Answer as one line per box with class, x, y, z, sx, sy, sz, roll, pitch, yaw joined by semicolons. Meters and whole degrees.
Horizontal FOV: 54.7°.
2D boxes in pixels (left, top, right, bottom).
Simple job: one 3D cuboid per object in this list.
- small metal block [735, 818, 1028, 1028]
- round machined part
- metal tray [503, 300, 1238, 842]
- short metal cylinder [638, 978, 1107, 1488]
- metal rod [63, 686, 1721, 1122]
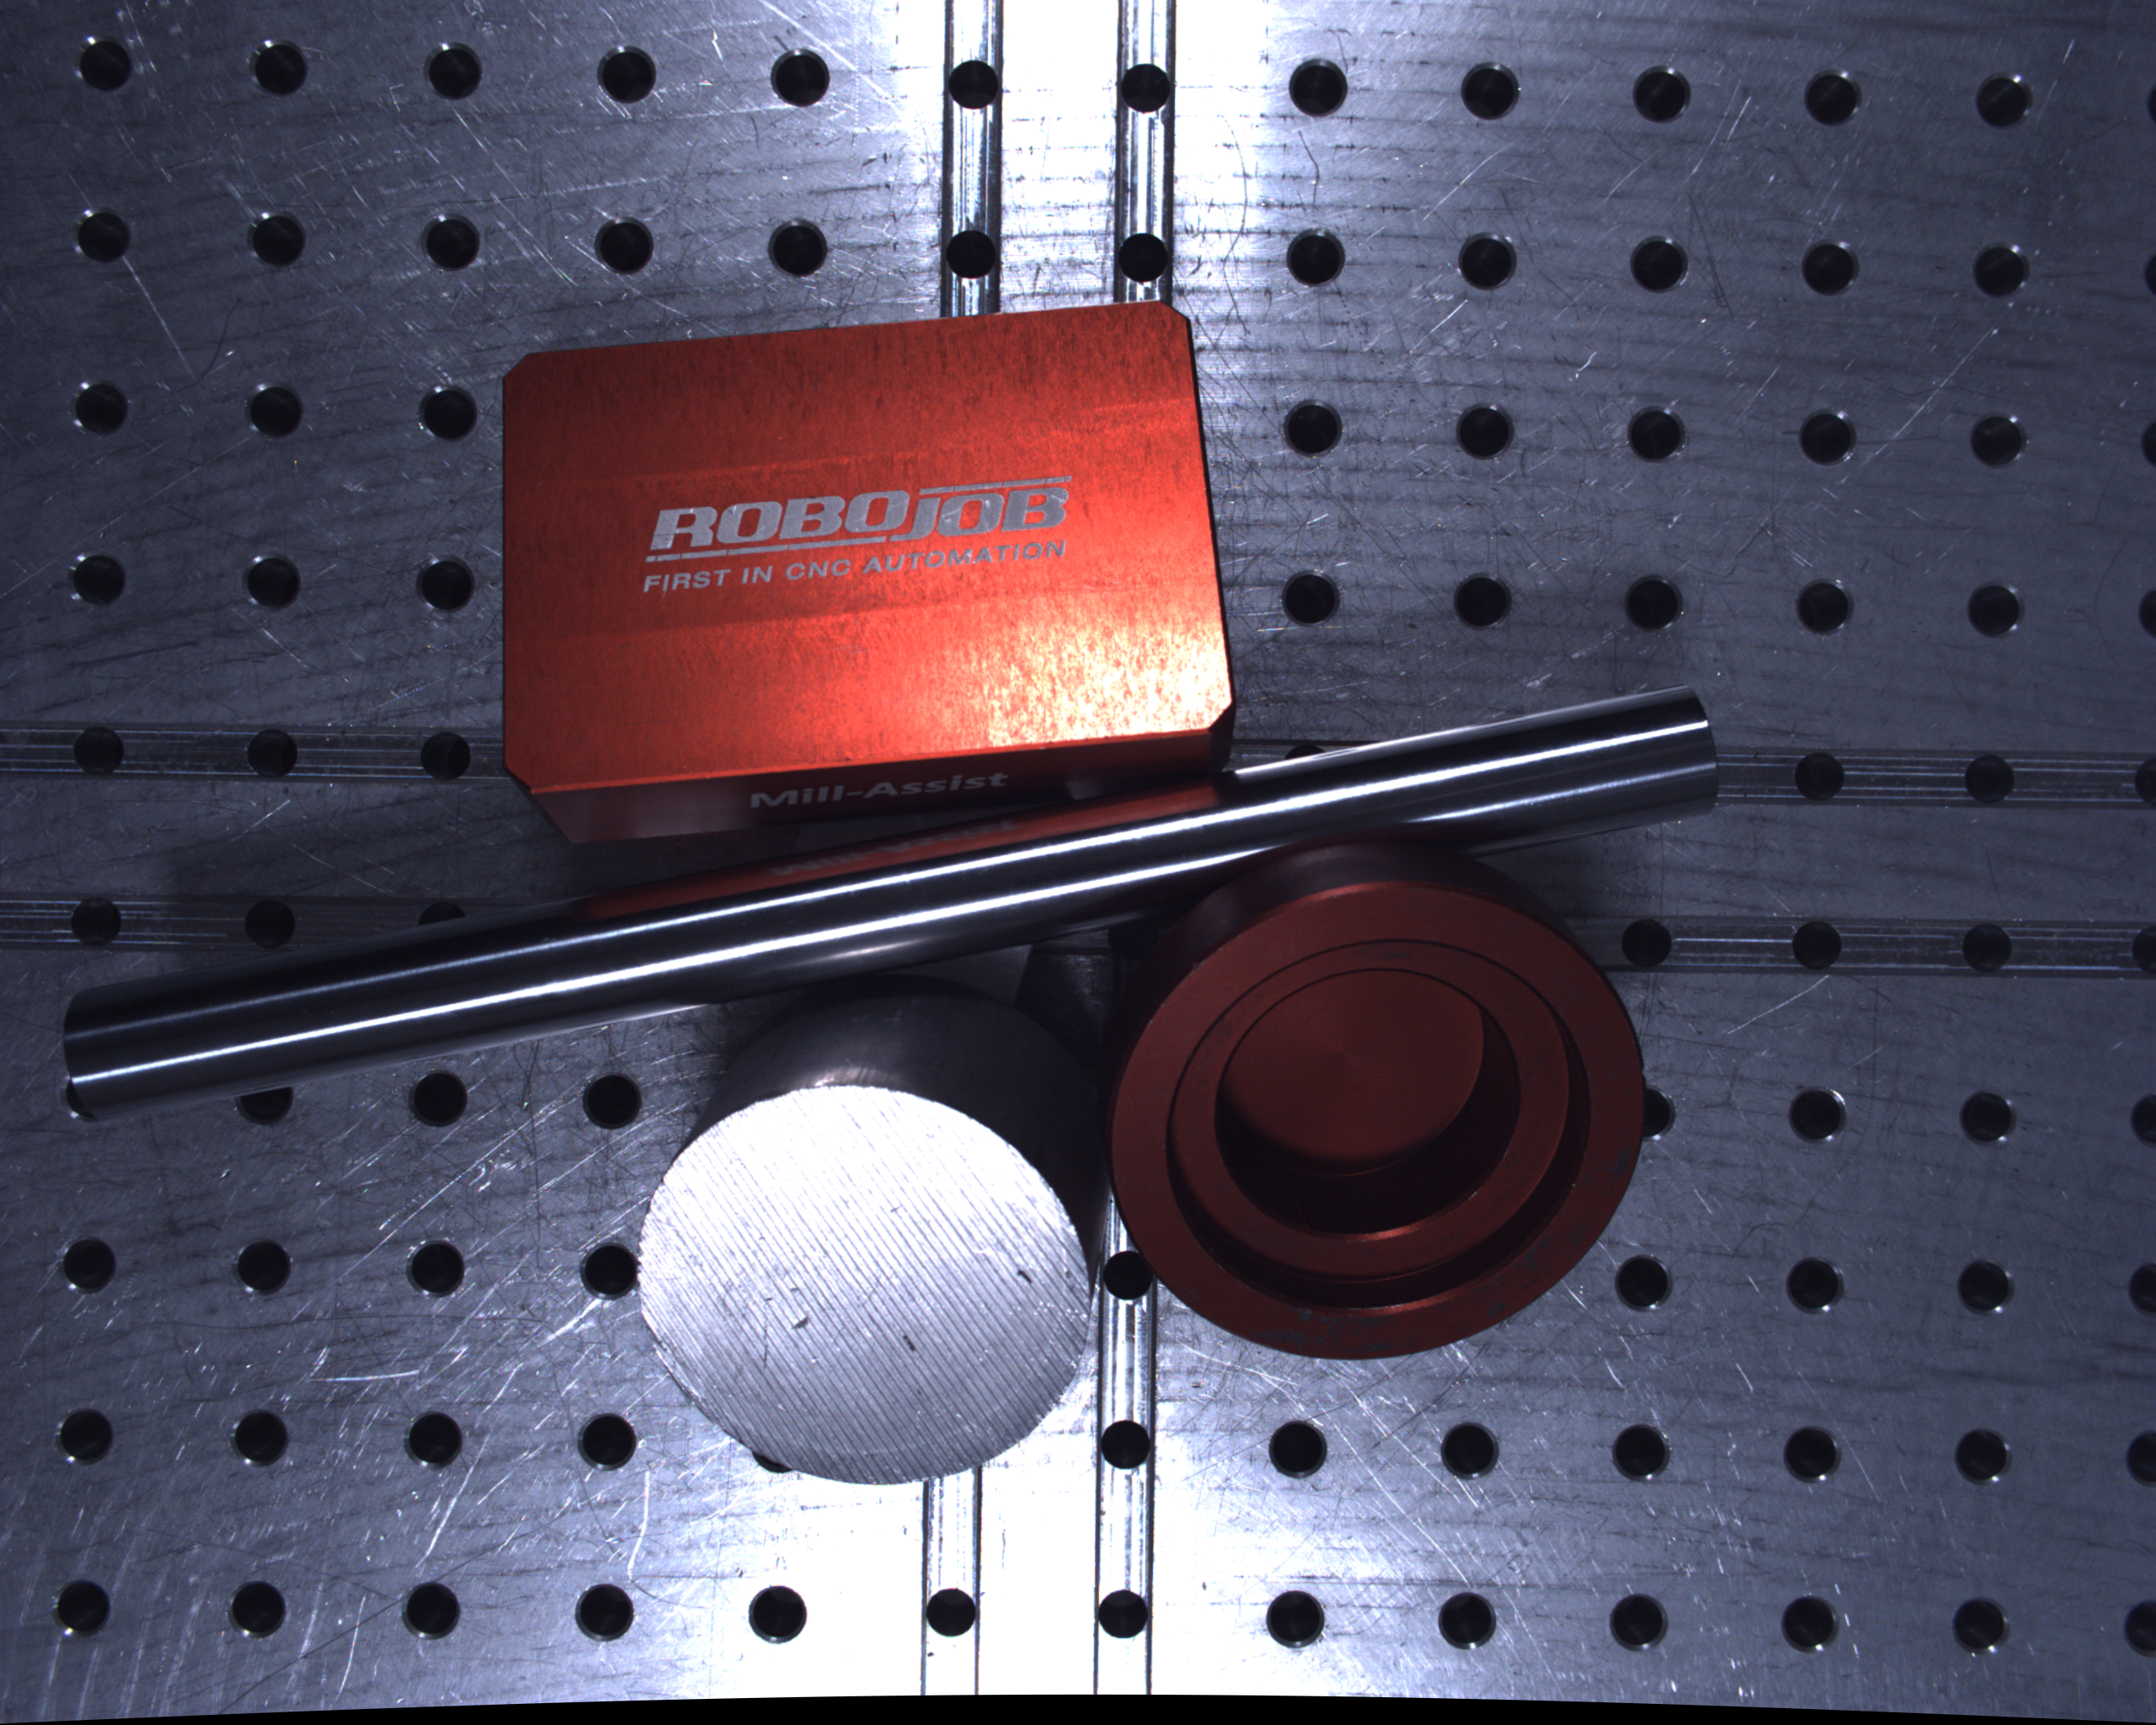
small metal block;-0.036;0.015;0.421;0.050;0.025;0.050;18;90;-1
round machined part;0.053;0.041;0.394;0.099;0.042;0.097;-2;112;-4
metal tray;-0.040;-0.056;0.396;0.131;0.030;0.090;-5;71;-1
short metal cylinder;-0.035;0.068;0.389;0.080;0.050;0.079;1;109;5
metal rod;-0.033;0.007;0.387;0.302;0.025;0.025;-11;90;-1
